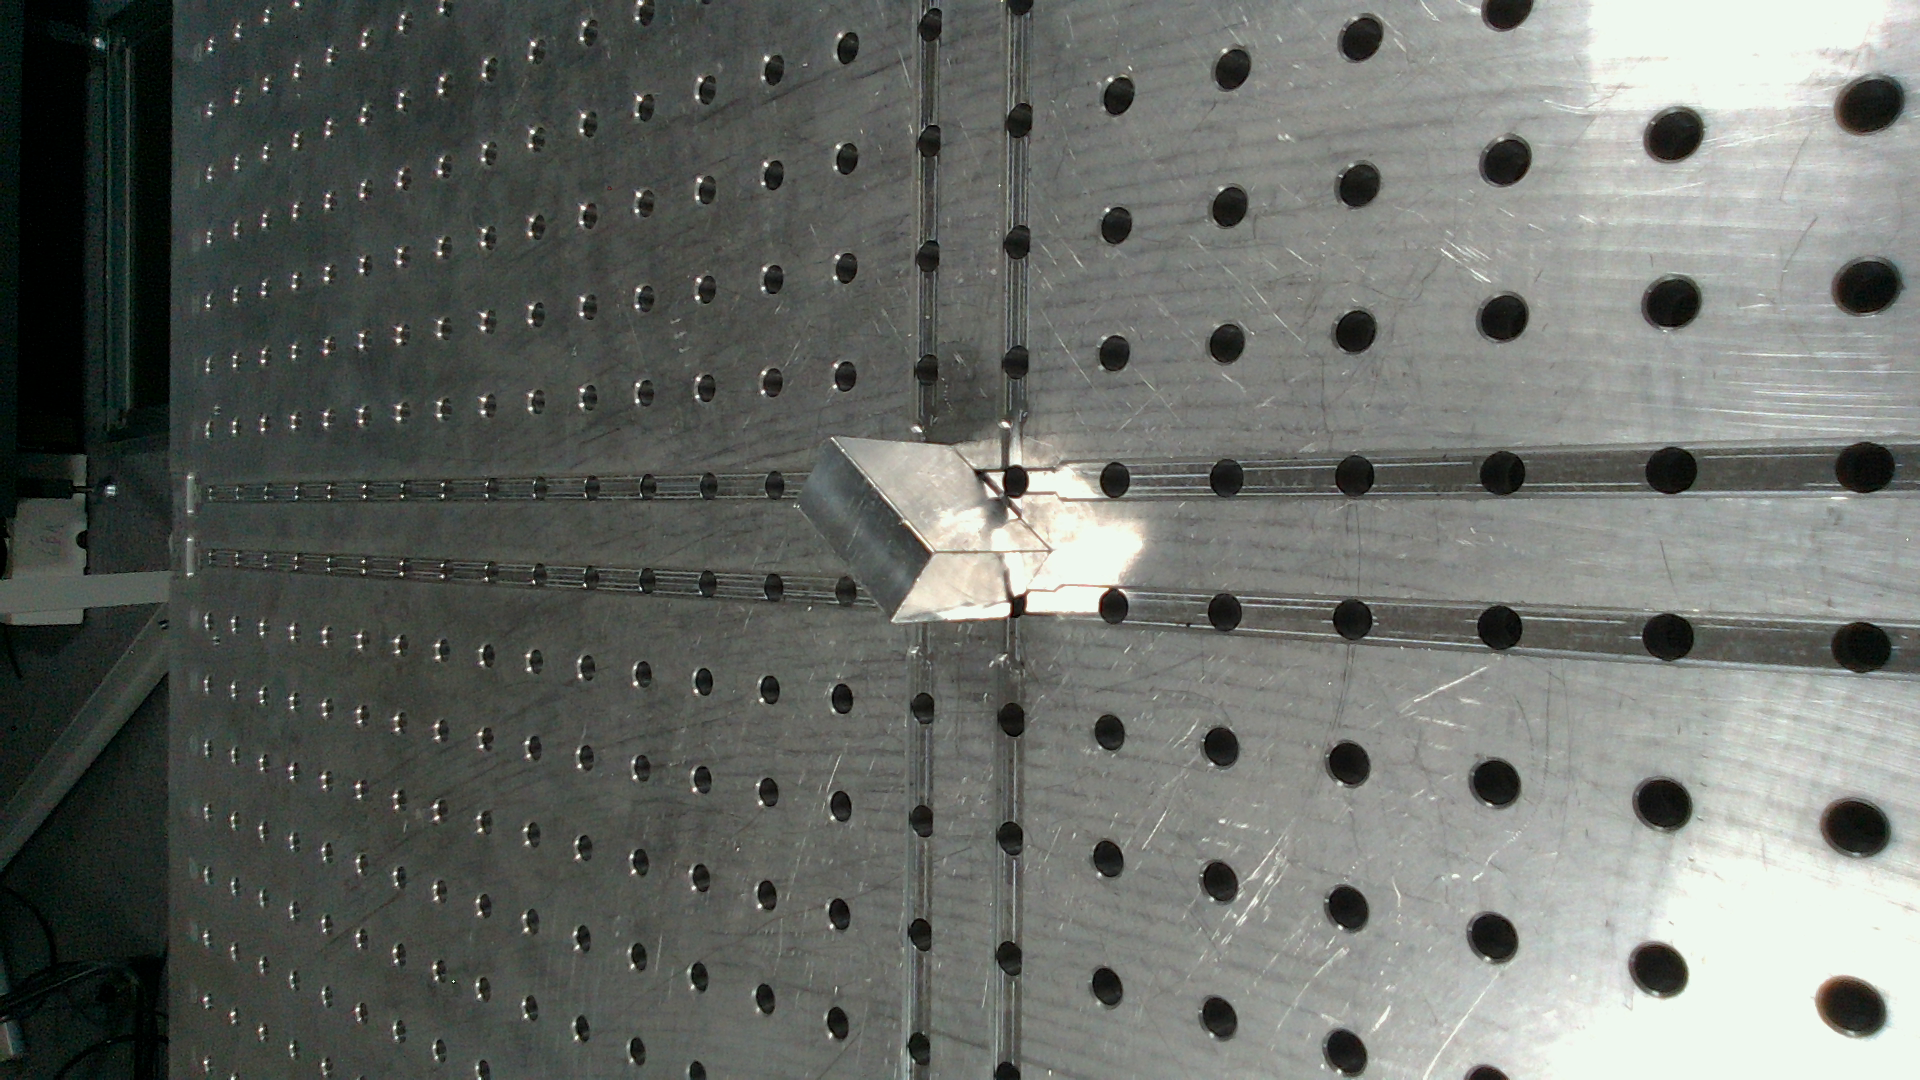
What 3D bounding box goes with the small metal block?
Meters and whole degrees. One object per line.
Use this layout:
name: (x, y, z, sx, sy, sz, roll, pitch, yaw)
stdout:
small metal block: (-0.011, -0.004, 0.390, 0.050, 0.050, 0.025, 48, 118, 30)
